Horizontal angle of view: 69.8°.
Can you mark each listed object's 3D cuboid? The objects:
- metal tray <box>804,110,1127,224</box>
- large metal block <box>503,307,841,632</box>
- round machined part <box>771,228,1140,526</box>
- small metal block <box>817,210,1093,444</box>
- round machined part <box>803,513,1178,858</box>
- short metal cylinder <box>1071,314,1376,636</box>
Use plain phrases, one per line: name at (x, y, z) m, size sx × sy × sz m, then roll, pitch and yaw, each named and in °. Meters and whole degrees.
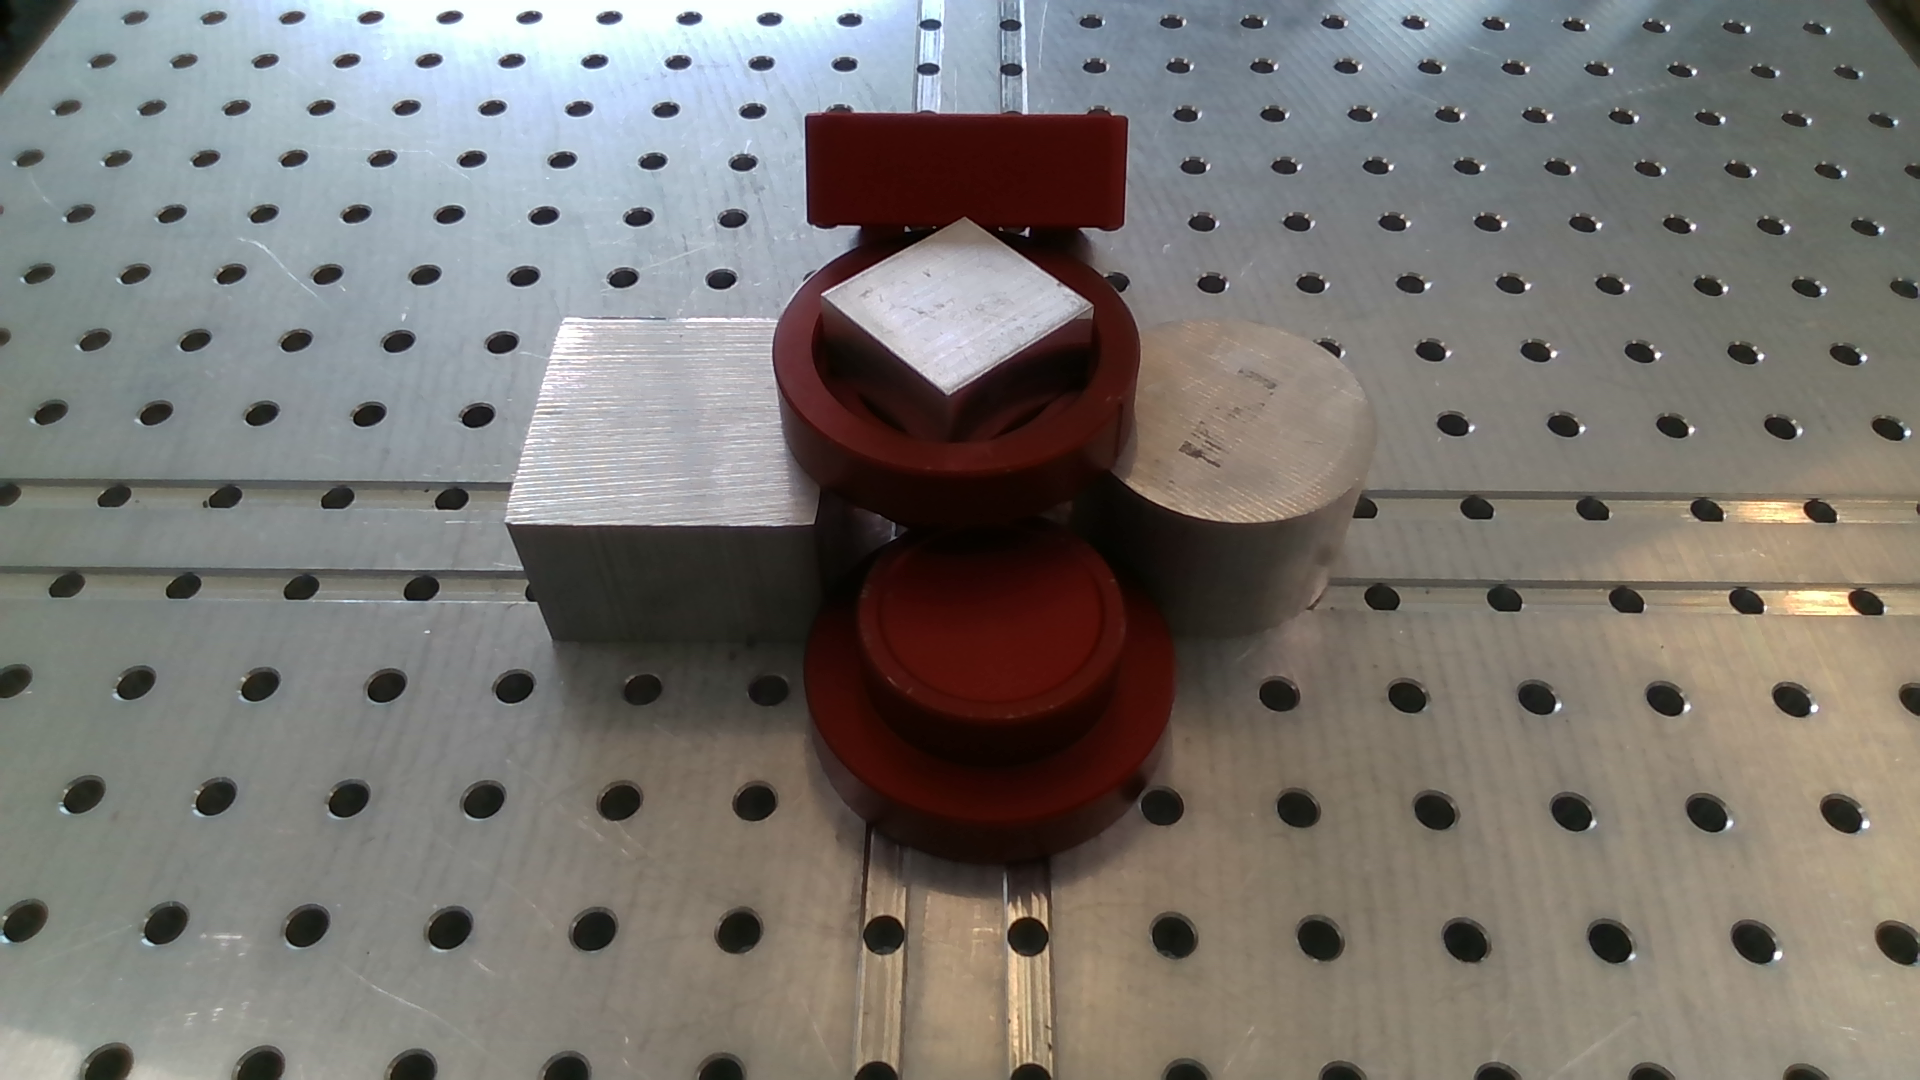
metal tray at (0.002, -0.118, 0.445) m, size 0.090 × 0.030 × 0.130 m, roll 1°, pitch 13°, yaw 1°
large metal block at (-0.076, -0.021, 0.394) m, size 0.080 × 0.050 × 0.080 m, roll 0°, pitch 50°, yaw 0°
round machined part at (-0.001, -0.040, 0.382) m, size 0.098 × 0.042 × 0.098 m, roll 0°, pitch 50°, yaw 0°
small metal block at (-0.001, -0.055, 0.362) m, size 0.050 × 0.025 × 0.050 m, roll -34°, pitch 58°, yaw -25°
round machined part at (0.008, 0.029, 0.360) m, size 0.098 × 0.042 × 0.098 m, roll 0°, pitch 50°, yaw 0°
short metal cylinder at (0.073, -0.019, 0.396) m, size 0.080 × 0.050 × 0.080 m, roll 0°, pitch 50°, yaw 0°
